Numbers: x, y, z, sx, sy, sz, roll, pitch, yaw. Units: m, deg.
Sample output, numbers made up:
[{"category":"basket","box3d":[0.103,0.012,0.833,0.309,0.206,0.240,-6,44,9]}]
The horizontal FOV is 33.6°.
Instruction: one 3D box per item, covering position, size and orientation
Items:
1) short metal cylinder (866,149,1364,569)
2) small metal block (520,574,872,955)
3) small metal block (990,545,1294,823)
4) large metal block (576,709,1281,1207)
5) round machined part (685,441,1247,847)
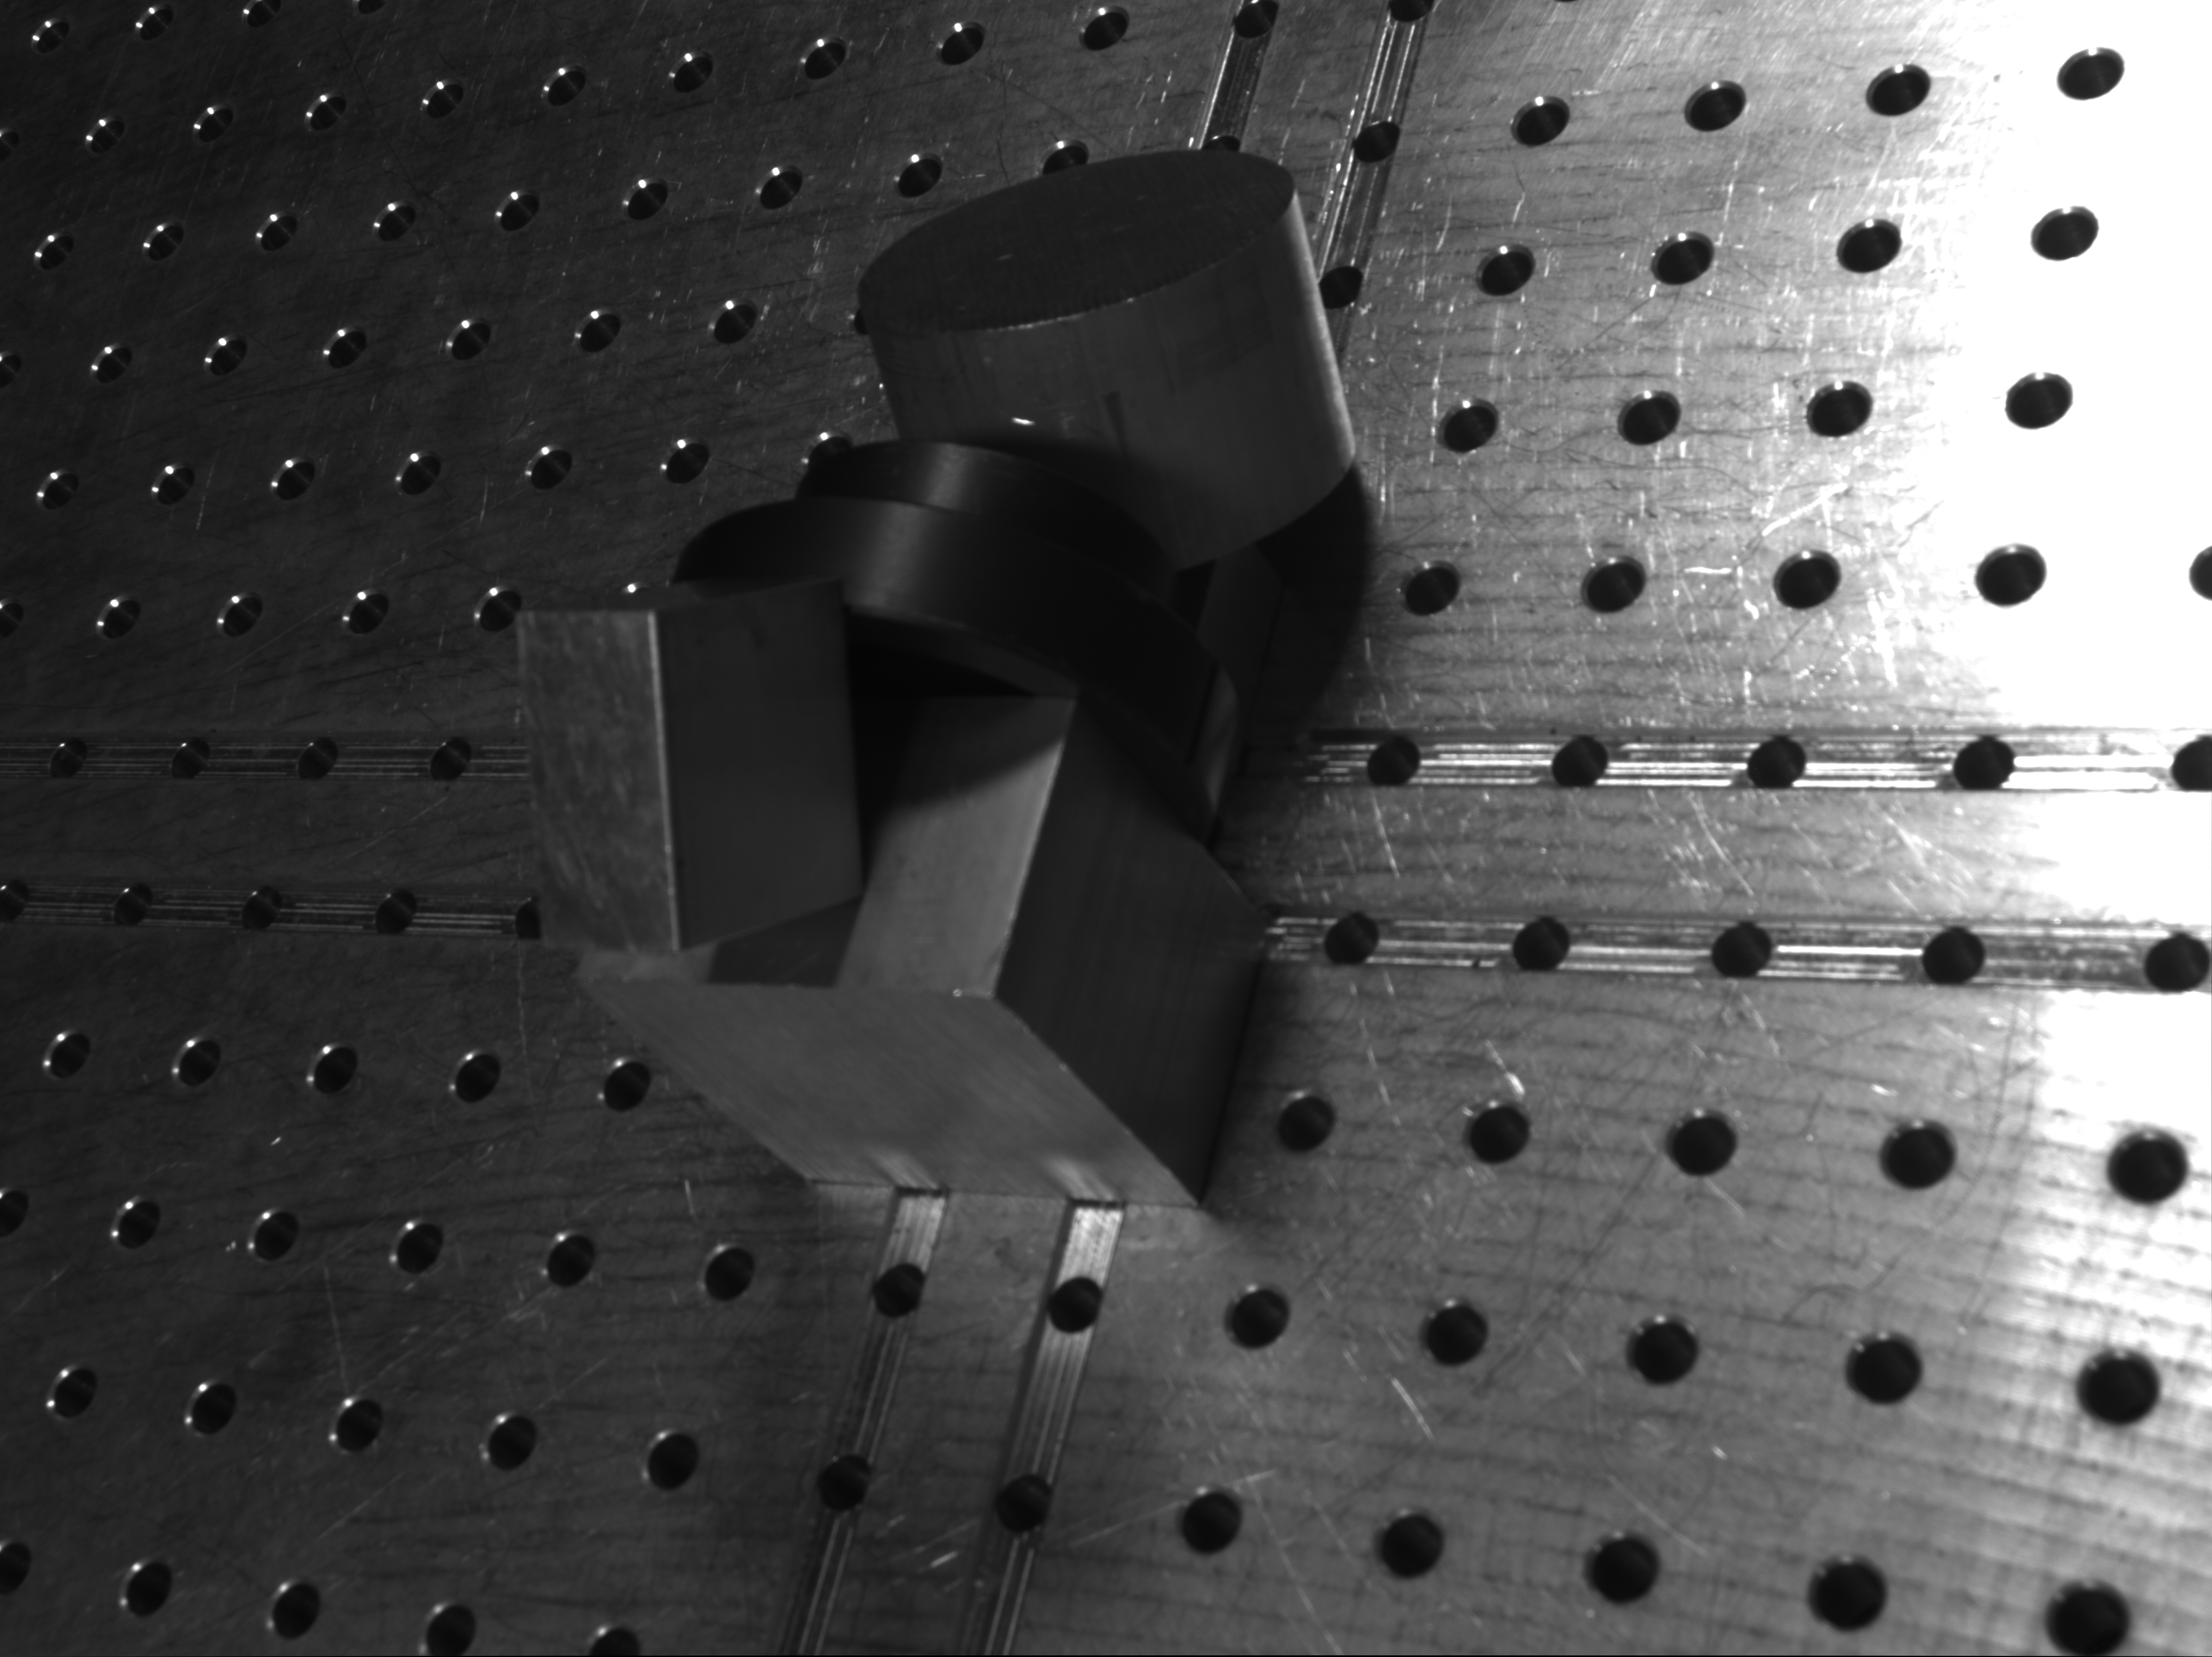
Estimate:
[{"category":"short metal cylinder","box3d":[0.002,-0.084,0.660,0.080,0.050,0.080,-12,28,7]},{"category":"small metal block","box3d":[-0.061,-0.011,0.553,0.025,0.050,0.050,1,100,29]},{"category":"small metal block","box3d":[0.001,-0.029,0.664,0.050,0.025,0.050,1,62,29]},{"category":"large metal block","box3d":[-0.028,0.022,0.612,0.080,0.080,0.050,1,62,29]},{"category":"round machined part","box3d":[-0.024,-0.029,0.617,0.098,0.098,0.042,1,62,29]}]
